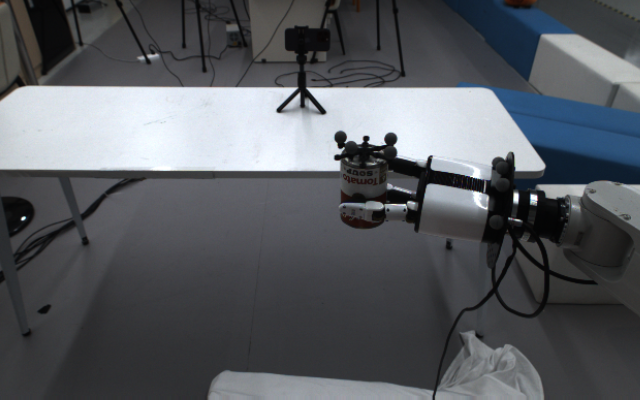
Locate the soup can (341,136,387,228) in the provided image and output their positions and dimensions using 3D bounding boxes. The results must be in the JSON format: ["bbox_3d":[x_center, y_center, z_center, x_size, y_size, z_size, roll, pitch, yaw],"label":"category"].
[{"bbox_3d":[0.063,-0.021,0.685,0.067,0.101,0.067,-2,34,1],"label":"soup can"}]
